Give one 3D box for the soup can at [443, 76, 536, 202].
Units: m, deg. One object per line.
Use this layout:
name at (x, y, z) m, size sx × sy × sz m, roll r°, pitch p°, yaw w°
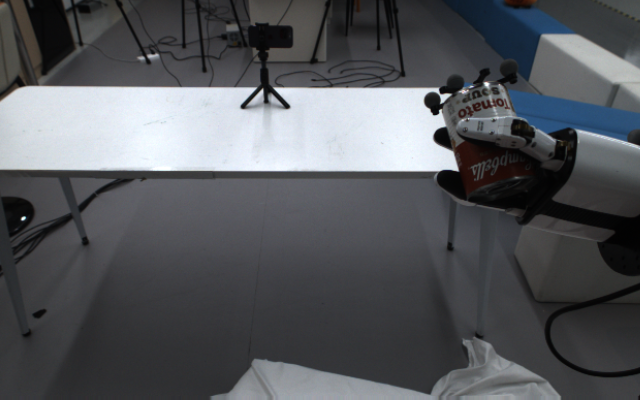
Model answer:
soup can at (0.168, -0.058, 0.482) m, size 0.067 × 0.067 × 0.101 m, roll -8°, pitch 74°, yaw -15°
